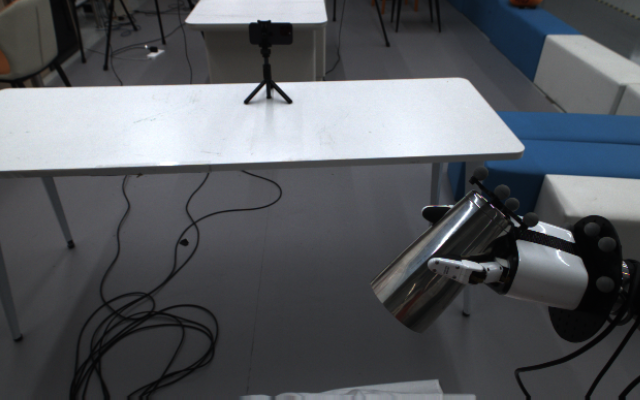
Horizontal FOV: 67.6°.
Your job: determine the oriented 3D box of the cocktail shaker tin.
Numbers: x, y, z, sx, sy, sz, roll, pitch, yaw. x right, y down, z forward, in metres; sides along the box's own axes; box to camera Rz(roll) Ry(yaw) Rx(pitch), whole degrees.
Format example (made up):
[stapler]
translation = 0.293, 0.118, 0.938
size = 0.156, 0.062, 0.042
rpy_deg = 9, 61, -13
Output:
[cocktail shaker tin]
translation = 0.154, 0.066, 0.599
size = 0.093, 0.170, 0.093
rpy_deg = 41, 12, -11
